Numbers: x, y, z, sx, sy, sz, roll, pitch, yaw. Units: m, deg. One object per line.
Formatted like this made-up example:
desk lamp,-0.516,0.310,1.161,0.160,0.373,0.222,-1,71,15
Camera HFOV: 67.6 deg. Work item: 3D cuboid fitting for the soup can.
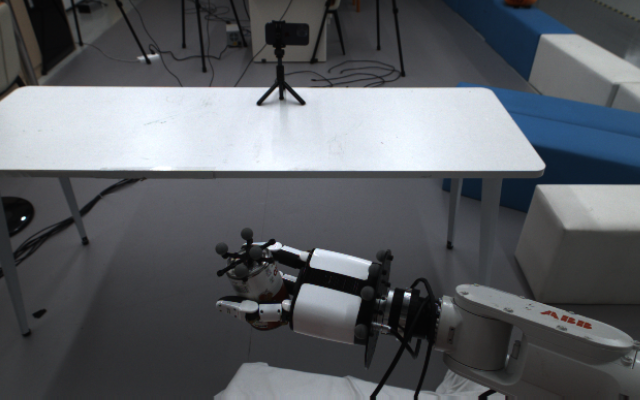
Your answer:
soup can,-0.081,0.123,0.674,0.067,0.101,0.067,-13,31,8
